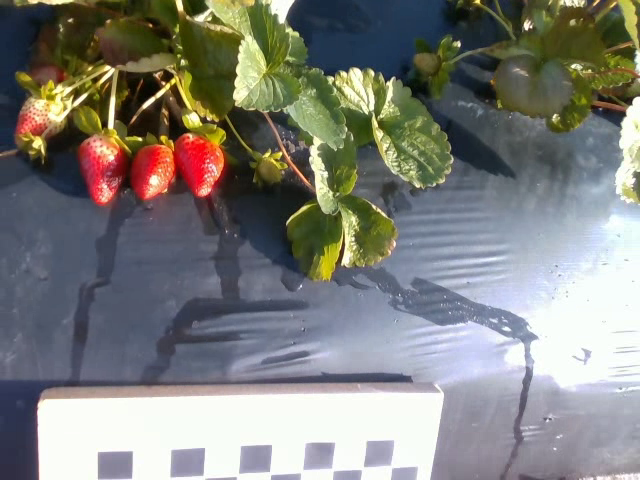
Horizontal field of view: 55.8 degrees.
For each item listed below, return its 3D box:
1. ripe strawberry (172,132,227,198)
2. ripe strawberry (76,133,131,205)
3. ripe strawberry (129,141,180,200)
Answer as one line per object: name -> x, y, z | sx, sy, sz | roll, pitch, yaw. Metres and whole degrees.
ripe strawberry -> -0.075, -0.041, 0.369 | 0.035, 0.041, 0.034 | -2, -38, -12
ripe strawberry -> -0.131, -0.042, 0.359 | 0.031, 0.046, 0.023 | 2, -3, -12
ripe strawberry -> -0.102, -0.041, 0.359 | 0.030, 0.037, 0.039 | 12, 35, -14
